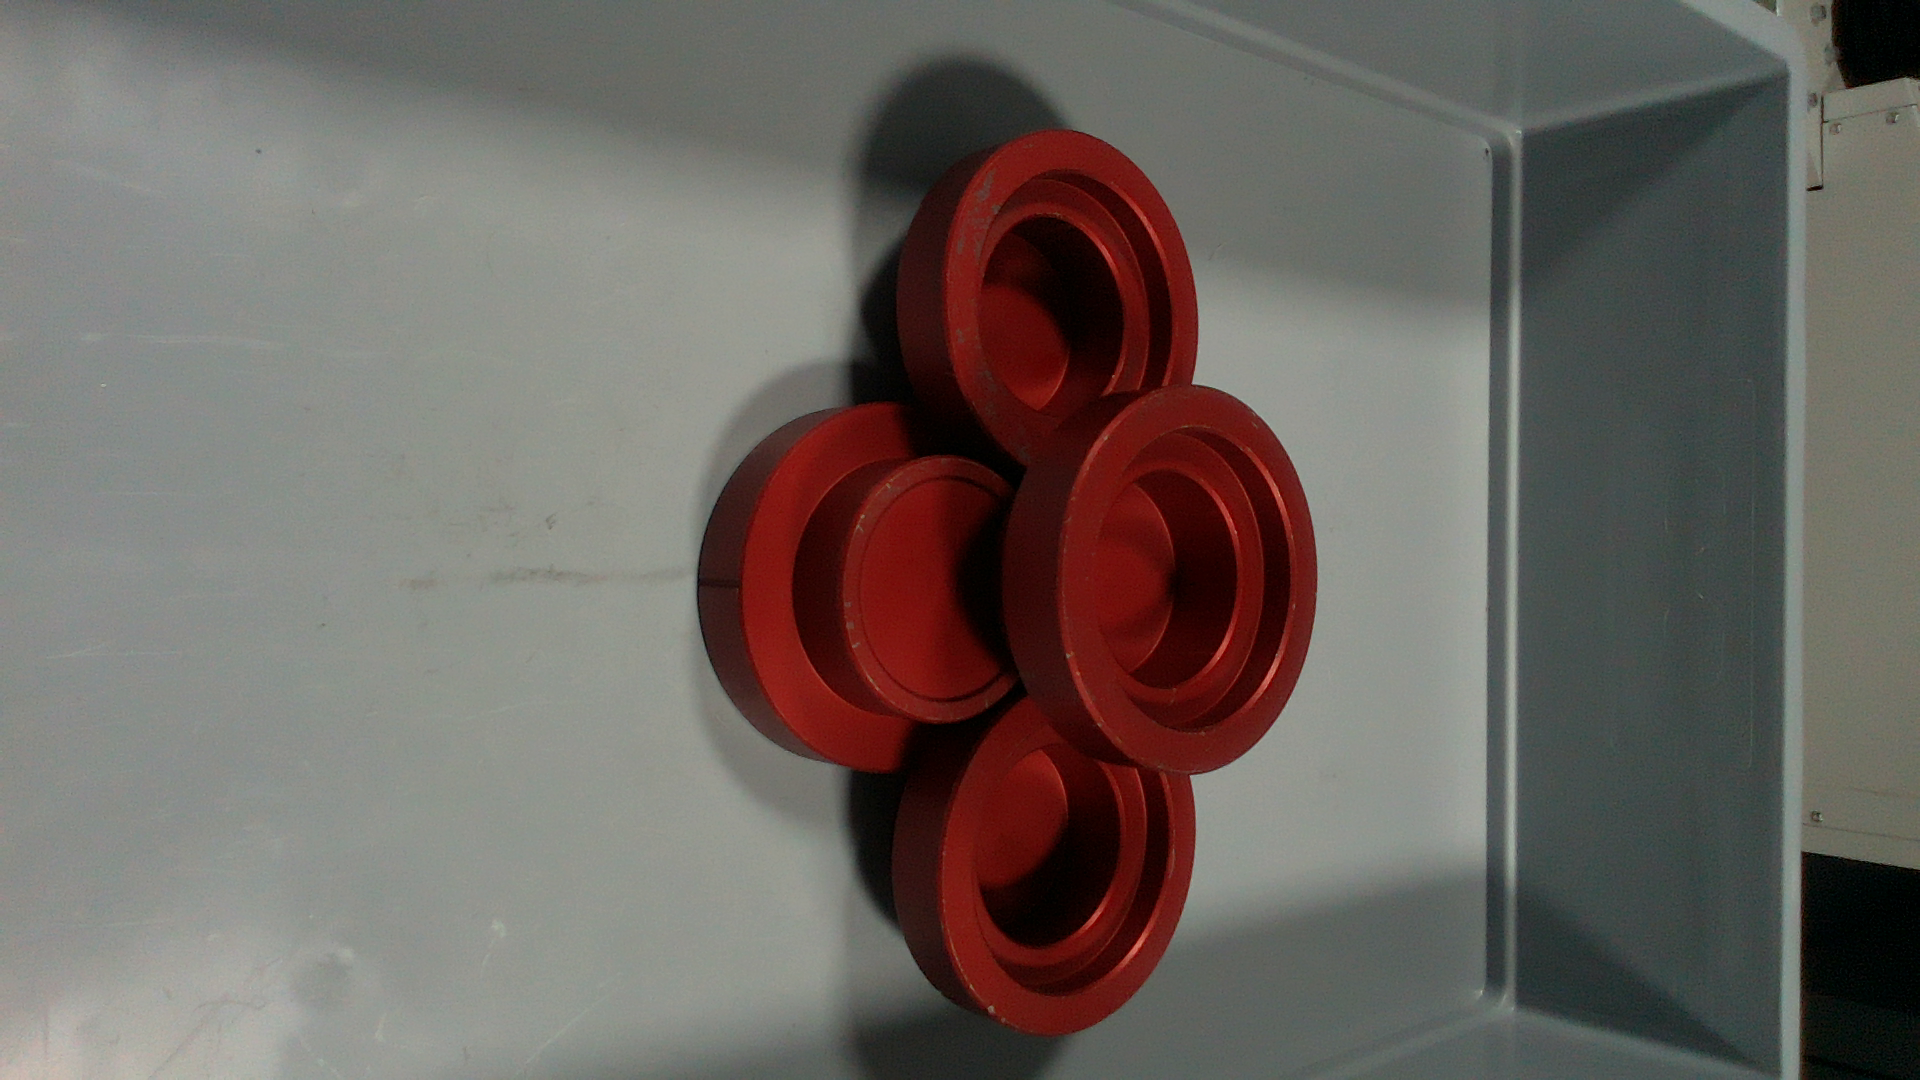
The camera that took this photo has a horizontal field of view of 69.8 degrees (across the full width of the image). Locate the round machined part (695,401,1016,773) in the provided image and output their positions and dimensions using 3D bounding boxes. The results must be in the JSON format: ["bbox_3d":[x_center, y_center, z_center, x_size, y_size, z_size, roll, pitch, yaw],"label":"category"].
[{"bbox_3d":[-0.016,0.012,0.363,0.098,0.042,0.098,0,90,-40],"label":"round machined part"}]

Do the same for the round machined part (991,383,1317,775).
[{"bbox_3d":[0.047,0.010,0.360,0.098,0.042,0.098,0,90,-40],"label":"round machined part"}]

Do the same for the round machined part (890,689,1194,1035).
[{"bbox_3d":[0.019,0.085,0.392,0.098,0.042,0.098,0,90,-40],"label":"round machined part"}]

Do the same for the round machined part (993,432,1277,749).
[{"bbox_3d":[0.060,0.016,0.426,0.098,0.042,0.098,0,90,-40],"label":"round machined part"}]

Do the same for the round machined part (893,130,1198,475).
[{"bbox_3d":[0.020,-0.063,0.392,0.098,0.042,0.098,0,90,-40],"label":"round machined part"}]
